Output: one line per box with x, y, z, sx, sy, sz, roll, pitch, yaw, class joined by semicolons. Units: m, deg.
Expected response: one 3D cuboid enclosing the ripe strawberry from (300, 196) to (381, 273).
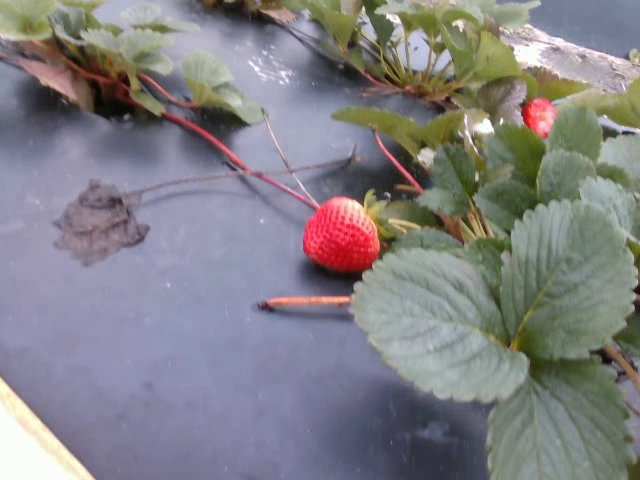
0.011;-0.007;0.424;0.064;0.062;0.050;-38;-18;-9;ripe strawberry
